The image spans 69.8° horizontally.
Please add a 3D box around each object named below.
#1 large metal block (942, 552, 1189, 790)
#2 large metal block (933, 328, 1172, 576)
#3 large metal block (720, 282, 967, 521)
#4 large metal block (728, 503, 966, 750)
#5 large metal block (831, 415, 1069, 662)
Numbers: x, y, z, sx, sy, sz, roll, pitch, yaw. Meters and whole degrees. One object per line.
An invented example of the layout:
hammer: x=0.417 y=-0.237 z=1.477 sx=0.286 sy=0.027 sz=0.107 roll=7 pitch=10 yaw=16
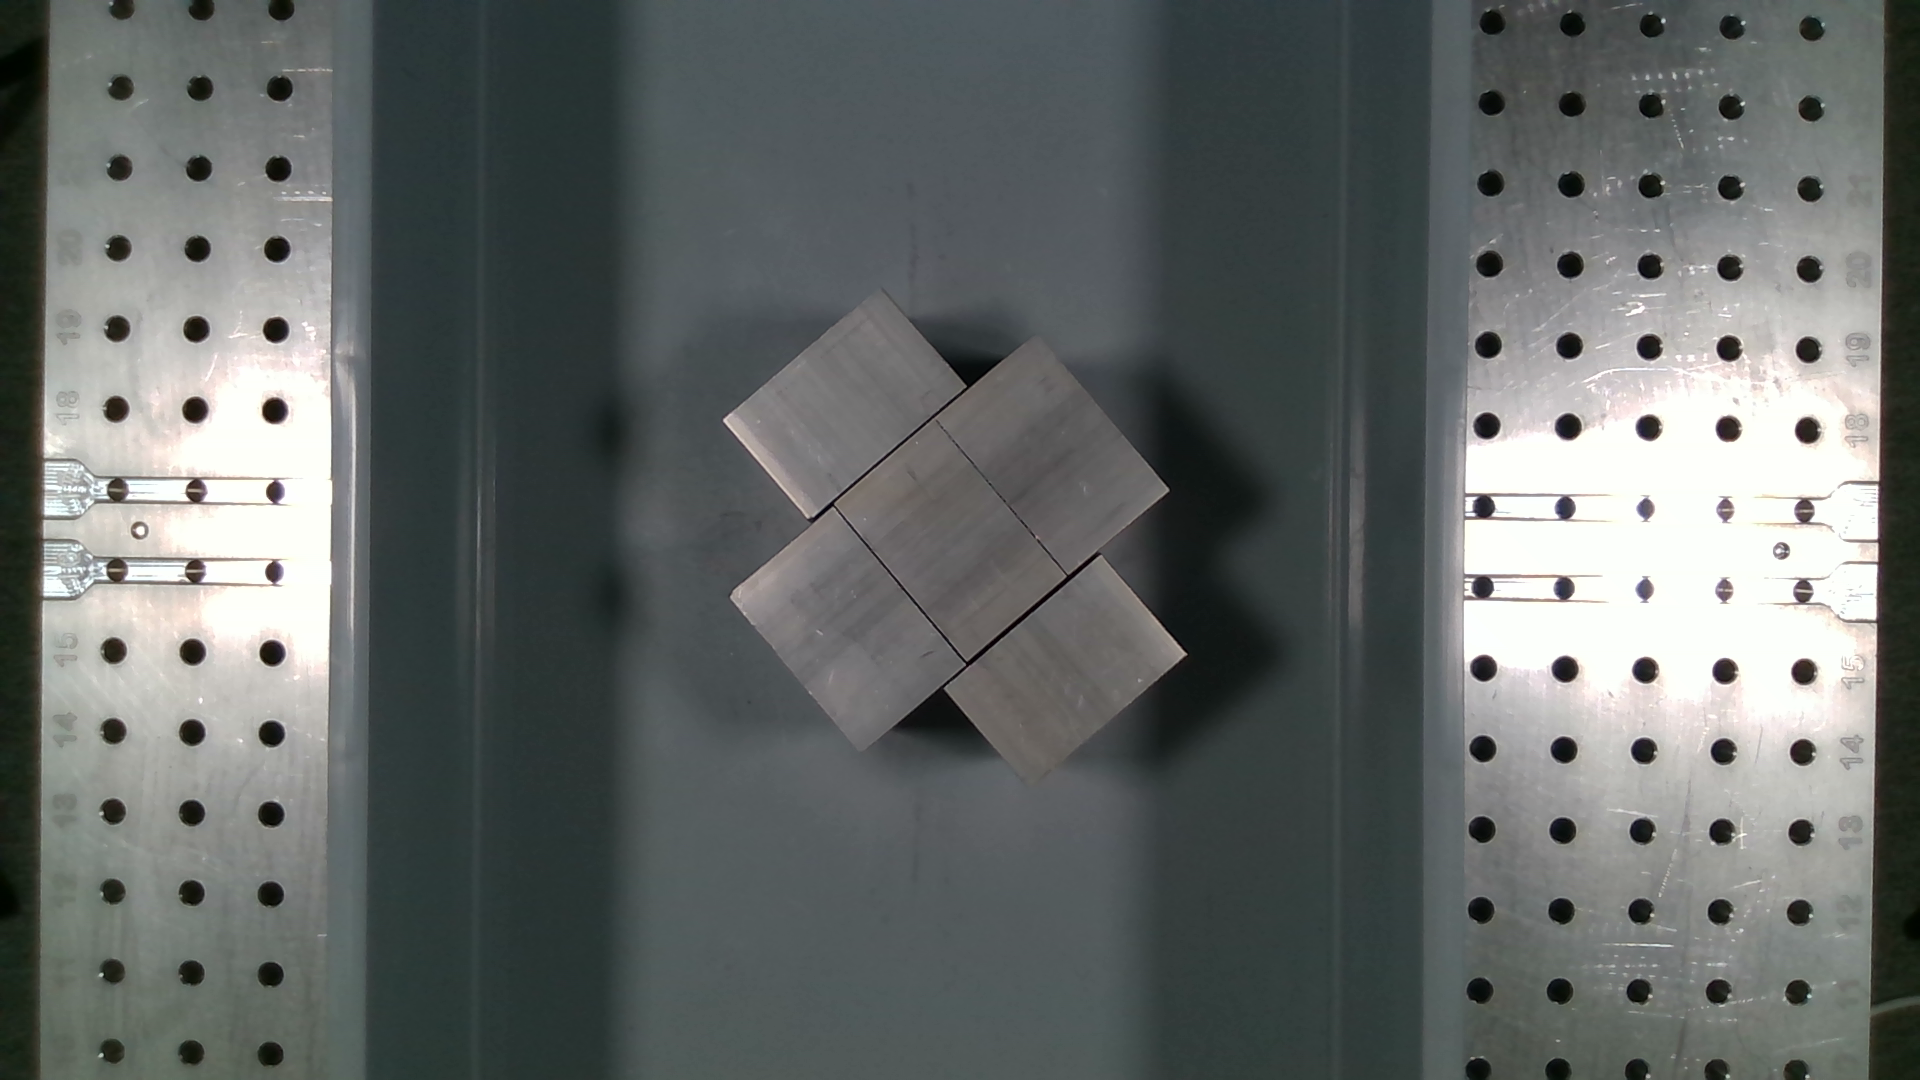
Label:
large metal block: x=0.040 y=0.049 z=0.560 sx=0.080 sy=0.080 sz=0.050 roll=-41 pitch=90 yaw=0
large metal block: x=0.035 y=-0.033 z=0.558 sx=0.050 sy=0.080 sz=0.080 roll=-40 pitch=90 yaw=0
large metal block: x=-0.044 y=-0.052 z=0.559 sx=0.080 sy=0.080 sz=0.050 roll=-41 pitch=90 yaw=0
large metal block: x=-0.043 y=0.033 z=0.560 sx=0.050 sy=0.080 sz=0.080 roll=-40 pitch=90 yaw=0
large metal block: x=-0.004 y=-0.001 z=0.559 sx=0.050 sy=0.080 sz=0.080 roll=-40 pitch=90 yaw=0
